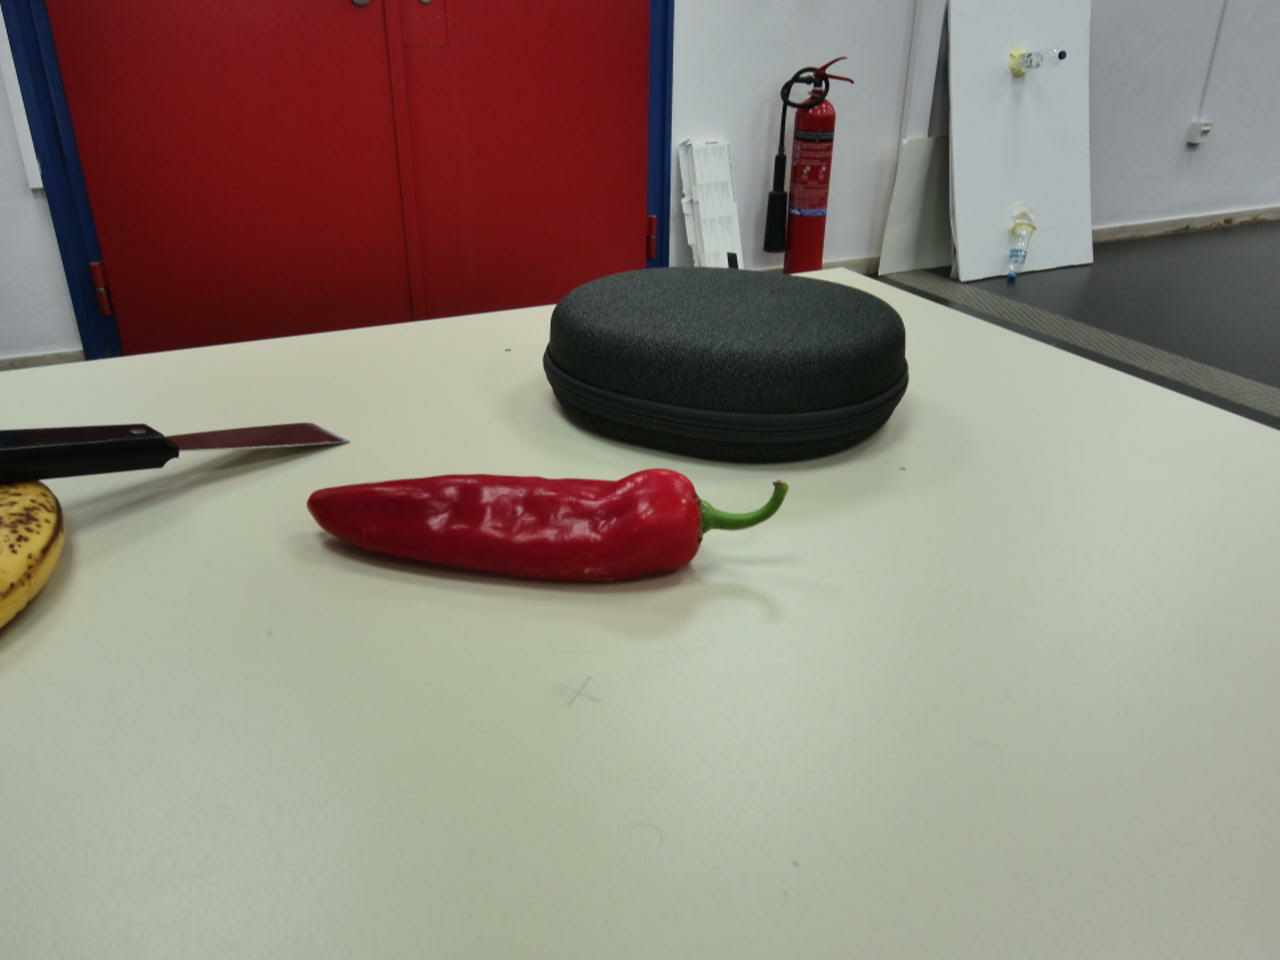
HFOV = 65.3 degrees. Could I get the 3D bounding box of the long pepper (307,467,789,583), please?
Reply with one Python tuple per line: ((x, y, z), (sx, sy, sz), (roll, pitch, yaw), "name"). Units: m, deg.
((-0.044, 0.016, 0.425), (0.211, 0.043, 0.050), (2, 24, 5), "long pepper")
